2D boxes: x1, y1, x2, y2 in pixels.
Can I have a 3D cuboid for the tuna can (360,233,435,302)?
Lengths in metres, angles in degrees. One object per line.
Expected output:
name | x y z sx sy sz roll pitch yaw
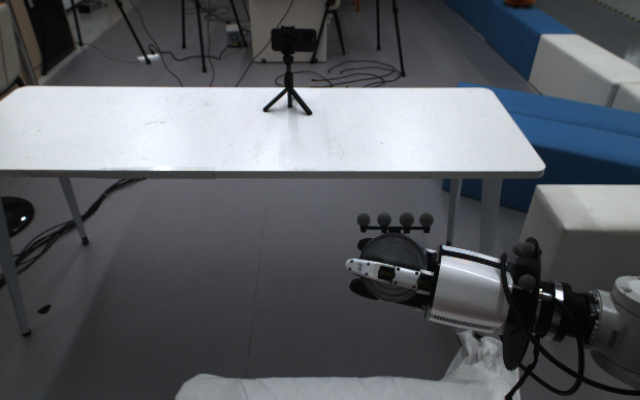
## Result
tuna can | 0.095 0.082 0.611 0.085 0.085 0.034 15 2 18
